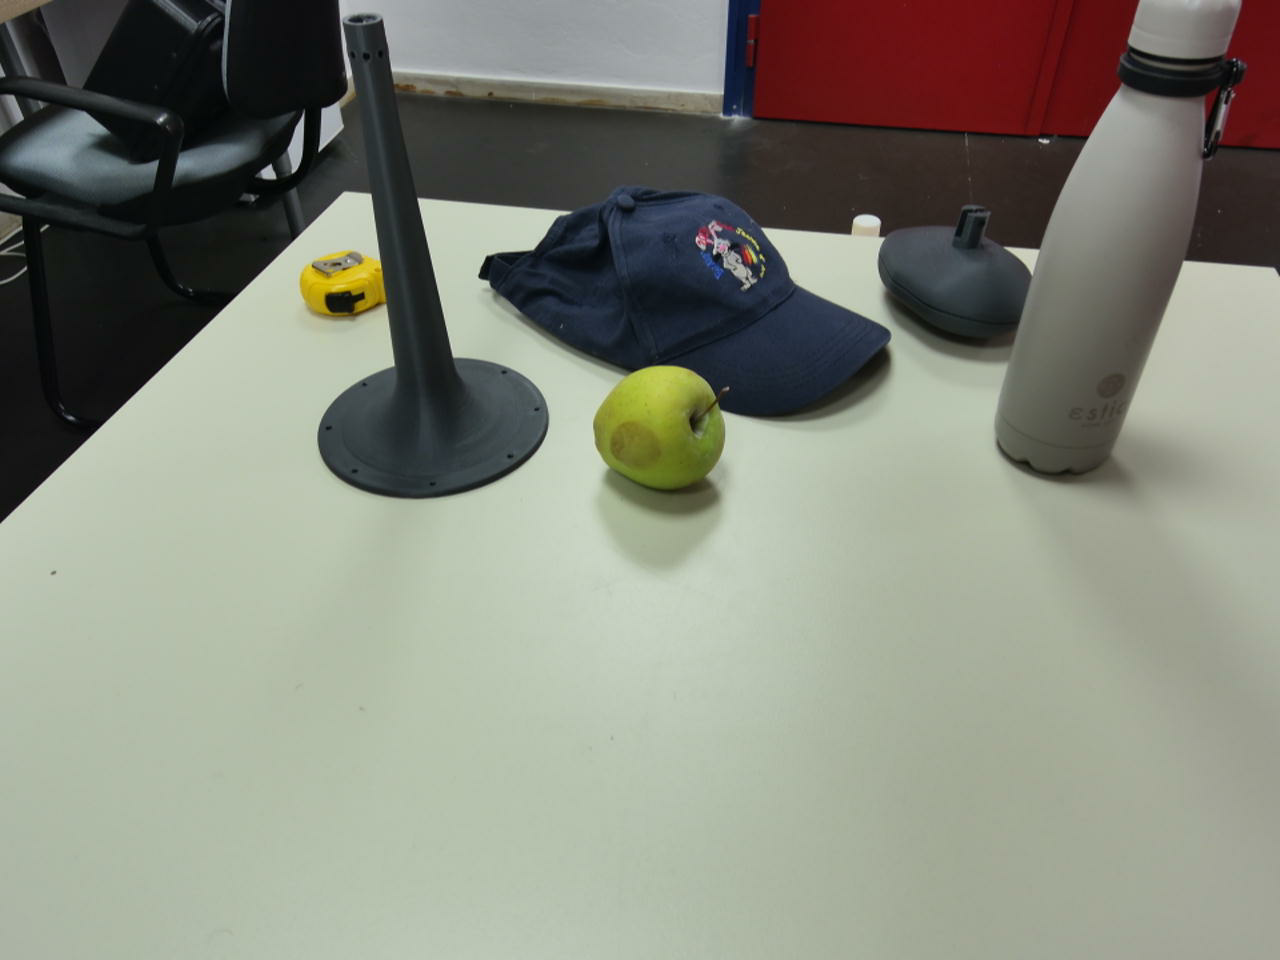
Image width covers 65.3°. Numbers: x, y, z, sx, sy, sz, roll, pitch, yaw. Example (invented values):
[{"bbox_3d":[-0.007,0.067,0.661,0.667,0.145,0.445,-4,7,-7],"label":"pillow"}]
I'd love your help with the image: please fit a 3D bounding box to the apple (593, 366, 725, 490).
[{"bbox_3d":[0.013,-0.033,0.598,0.072,0.075,0.077,-22,44,-25],"label":"apple"}]
